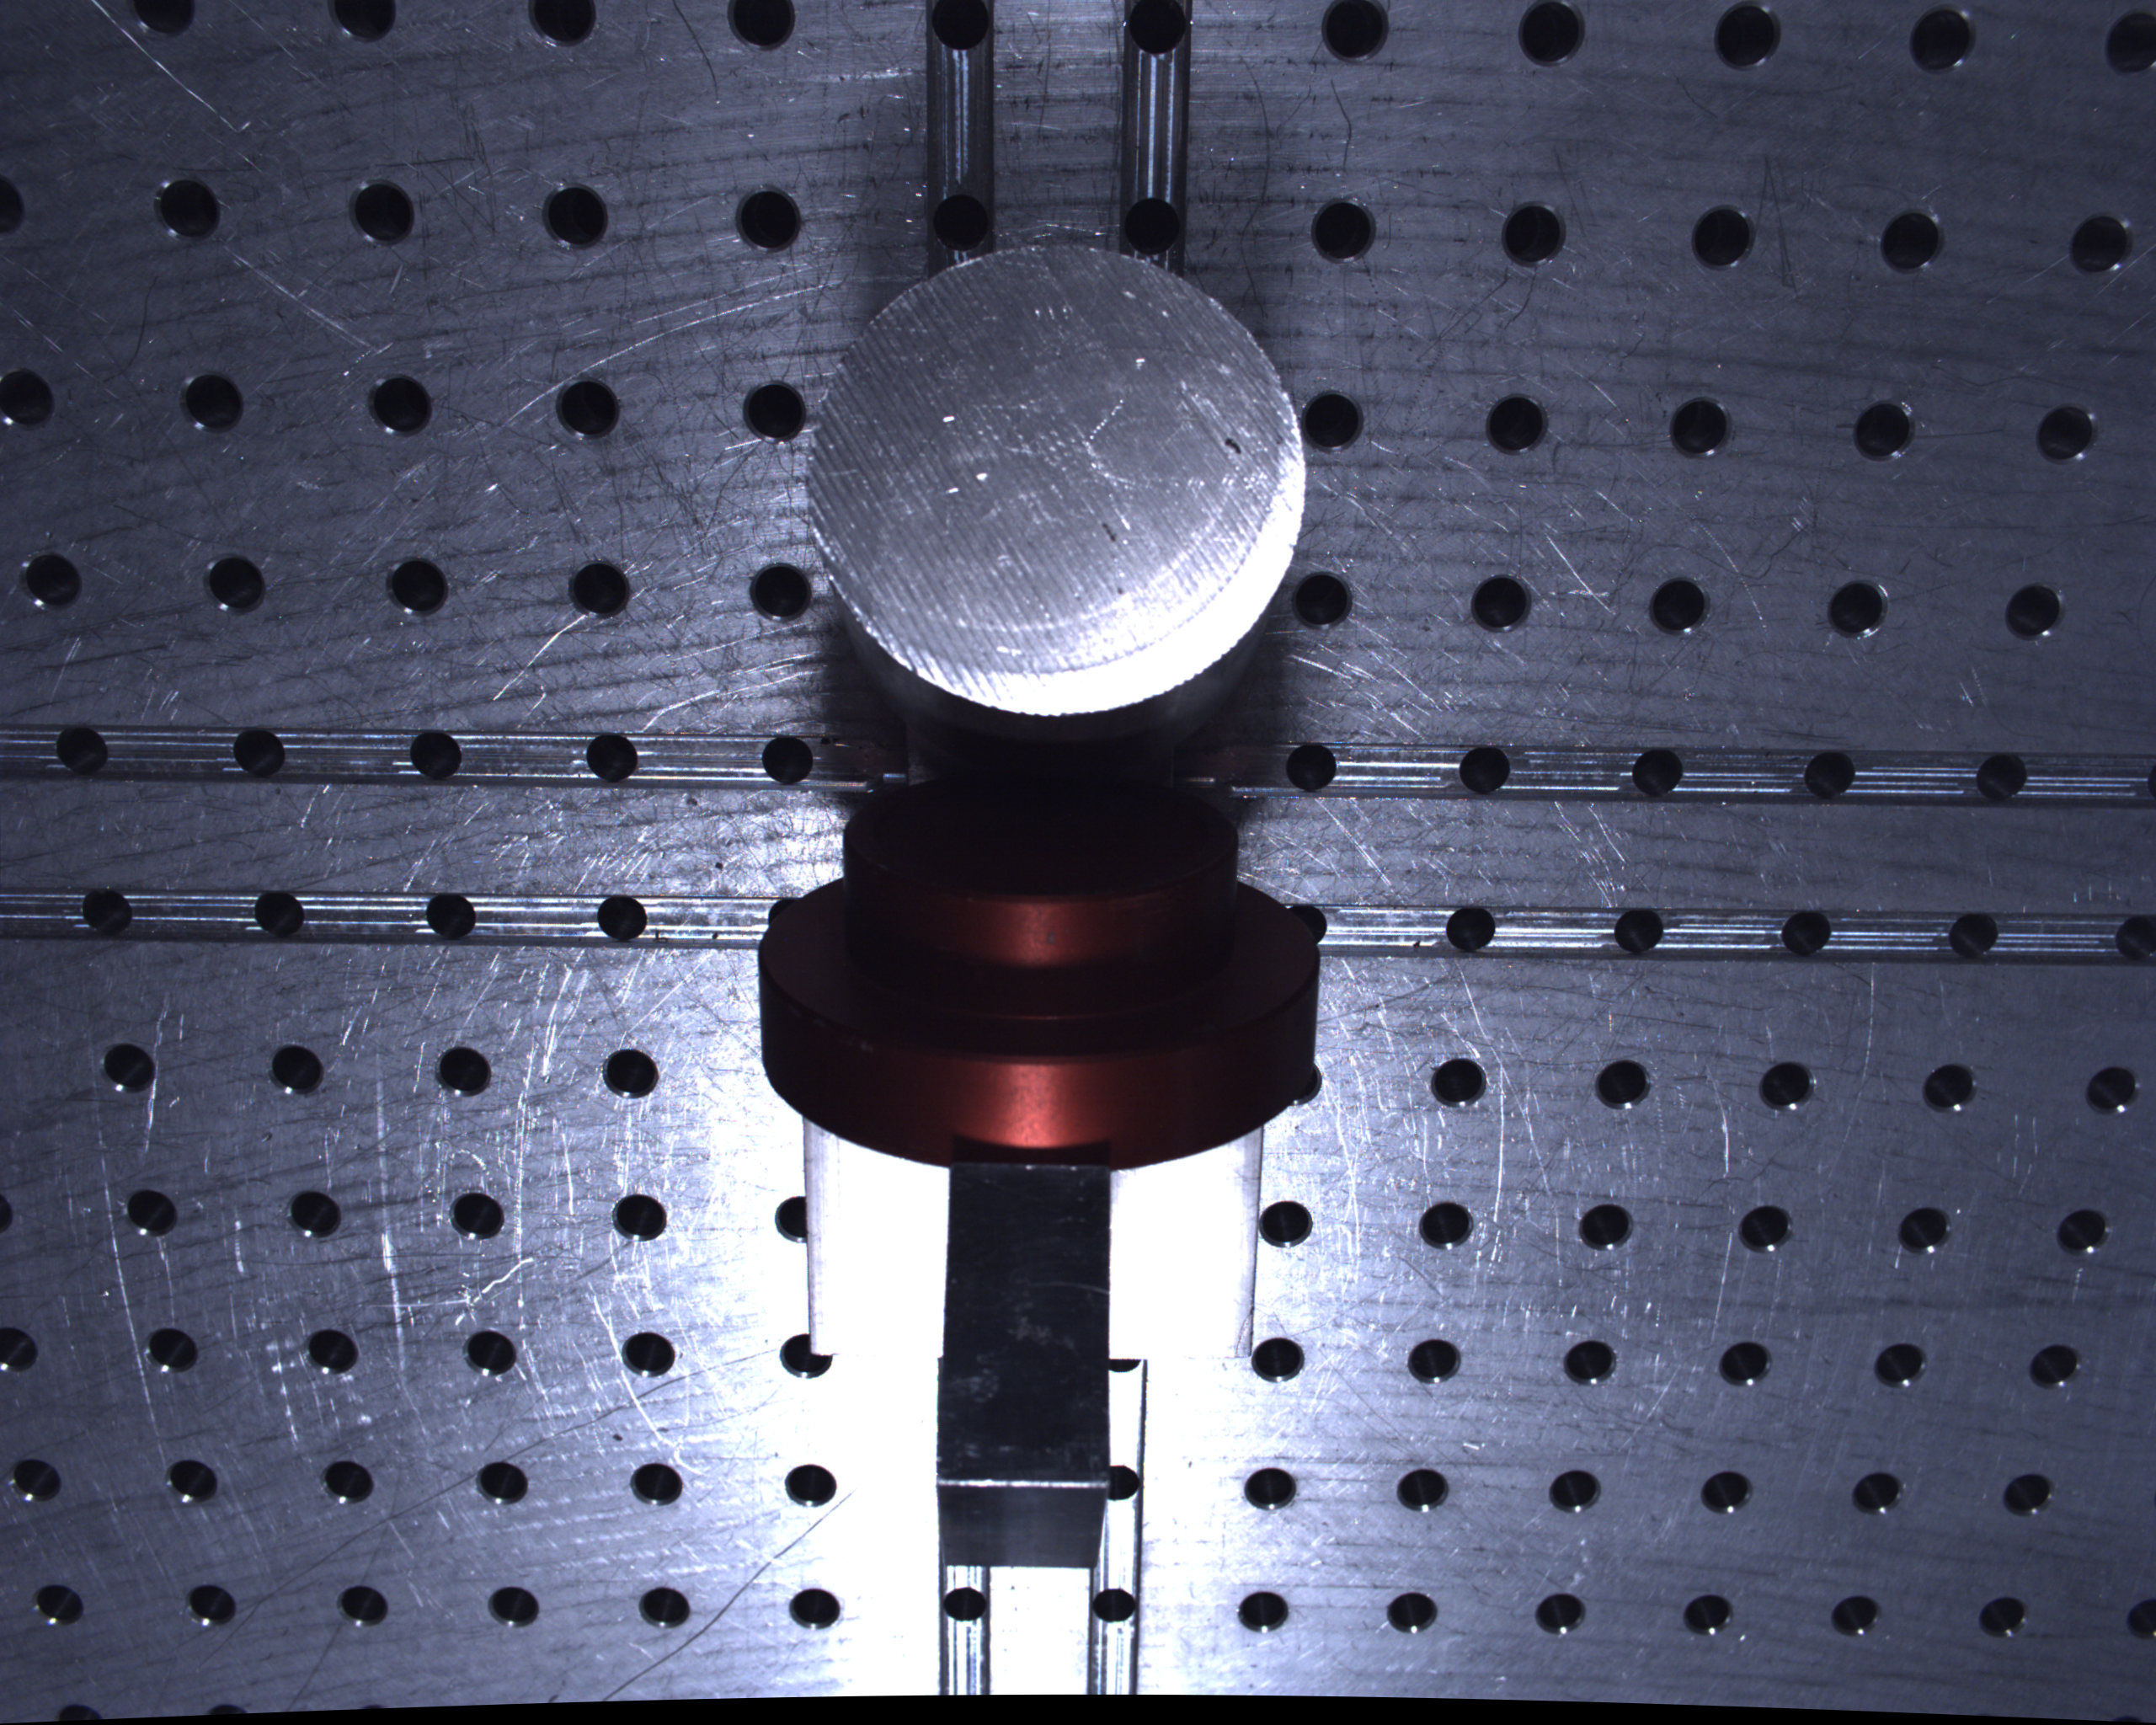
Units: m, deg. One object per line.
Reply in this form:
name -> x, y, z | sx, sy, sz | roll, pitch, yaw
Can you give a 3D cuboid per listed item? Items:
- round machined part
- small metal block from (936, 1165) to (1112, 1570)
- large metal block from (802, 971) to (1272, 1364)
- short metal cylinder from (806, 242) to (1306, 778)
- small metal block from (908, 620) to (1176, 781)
round machined part -> -0.006, 0.014, 0.368 | 0.099, 0.098, 0.042 | 1, 110, -1
small metal block -> -0.008, 0.082, 0.333 | 0.025, 0.050, 0.050 | 1, 148, -1
large metal block -> -0.008, 0.052, 0.402 | 0.081, 0.080, 0.050 | 1, 110, -1
short metal cylinder -> -0.004, -0.059, 0.360 | 0.081, 0.050, 0.080 | 0, 80, -1
small metal block -> -0.007, -0.025, 0.403 | 0.050, 0.025, 0.050 | 1, 110, -1
